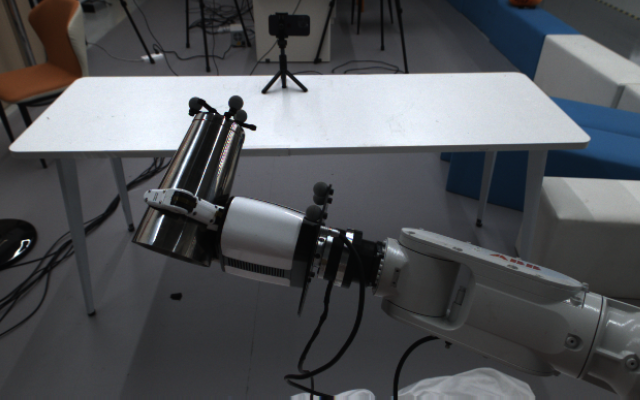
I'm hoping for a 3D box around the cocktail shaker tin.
[{"bbox_3d":[-0.148,-0.015,0.578,0.093,0.093,0.170,13,73,15],"label":"cocktail shaker tin"}]
